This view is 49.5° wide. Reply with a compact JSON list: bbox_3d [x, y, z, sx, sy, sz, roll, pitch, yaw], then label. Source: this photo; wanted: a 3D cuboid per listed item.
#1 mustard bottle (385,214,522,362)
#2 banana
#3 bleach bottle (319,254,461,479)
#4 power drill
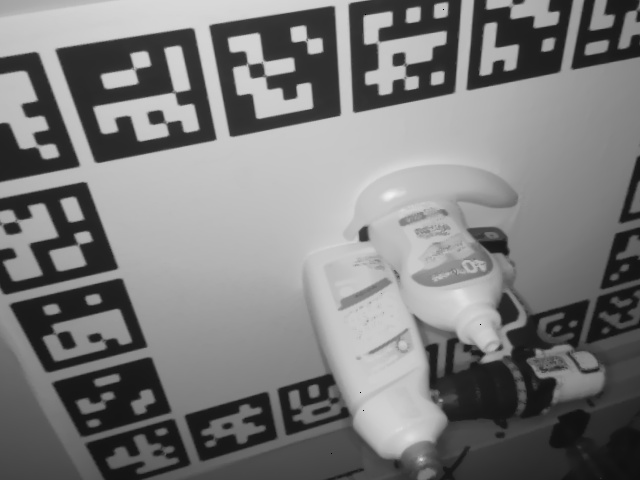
[{"bbox_3d":[0.134,0.045,0.654,0.097,0.191,0.058,-11,125,-10],"label":"mustard bottle"},{"bbox_3d":[0.129,-0.030,0.710,0.199,0.039,0.073,-9,123,-16],"label":"banana"},{"bbox_3d":[0.076,0.119,0.654,0.103,0.251,0.067,-10,131,-12],"label":"bleach bottle"},{"bbox_3d":[0.183,0.105,0.686,0.186,0.187,0.057,-1,124,-16],"label":"power drill"}]
